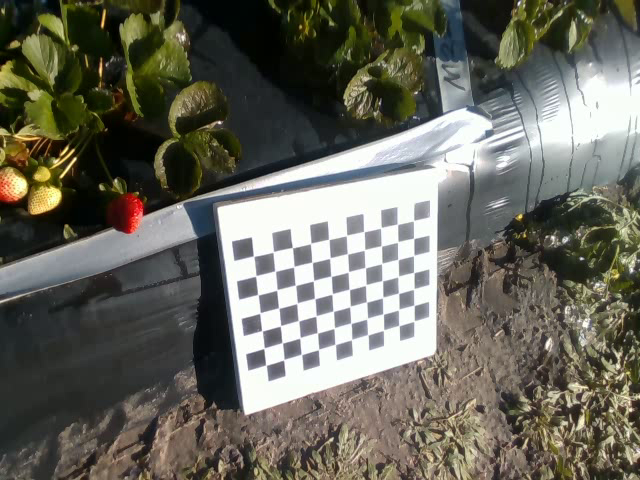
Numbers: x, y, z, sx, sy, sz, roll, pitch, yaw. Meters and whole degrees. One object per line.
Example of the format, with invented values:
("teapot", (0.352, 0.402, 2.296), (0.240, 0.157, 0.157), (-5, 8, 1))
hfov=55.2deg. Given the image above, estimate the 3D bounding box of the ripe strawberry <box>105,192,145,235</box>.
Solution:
("ripe strawberry", (-0.162, -0.018, 0.505), (0.036, 0.038, 0.045), (-13, 37, -18))
